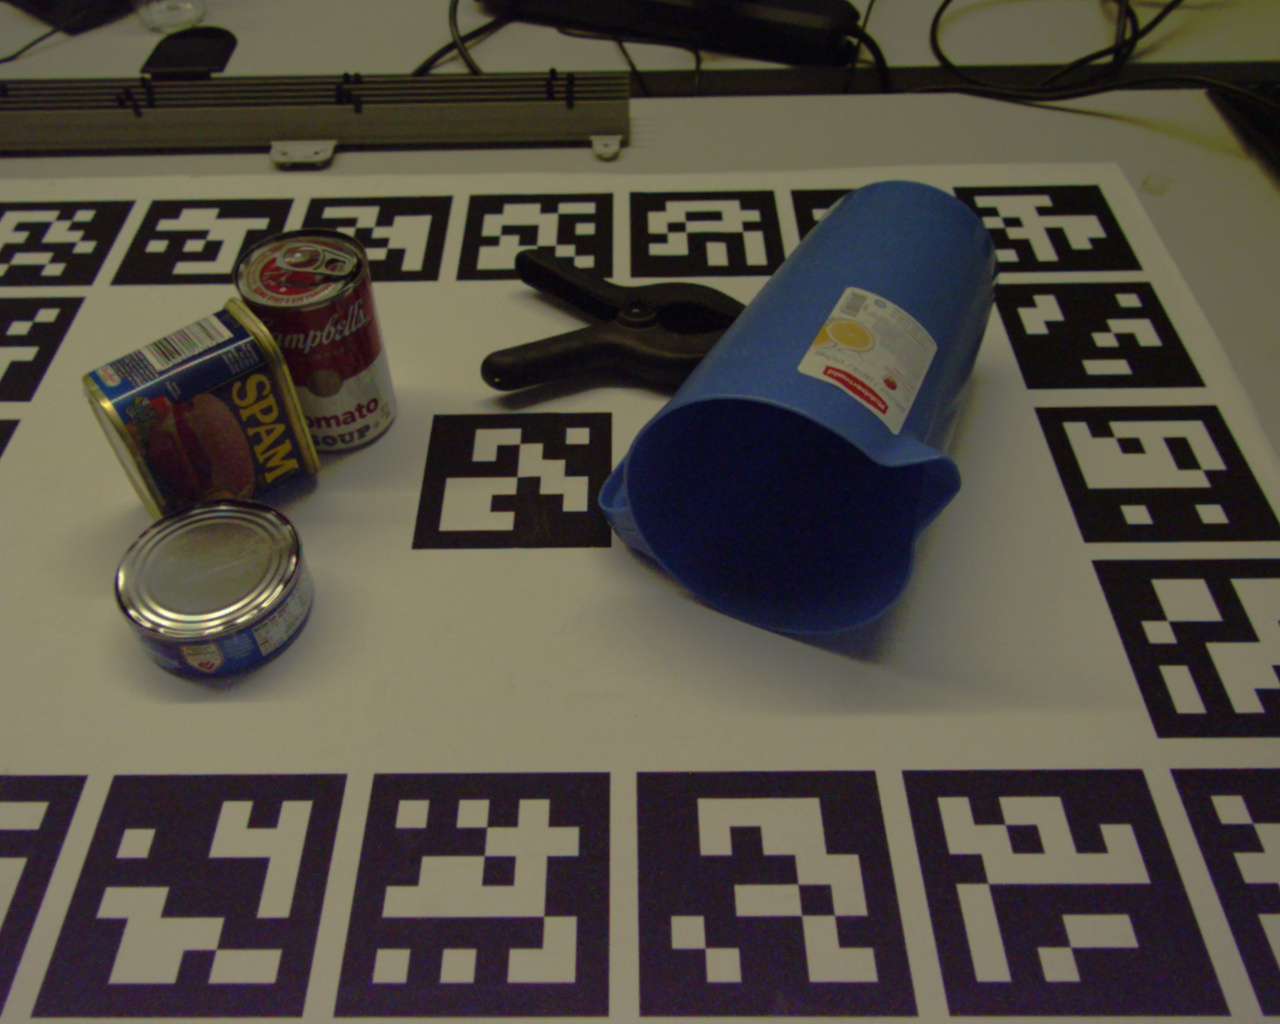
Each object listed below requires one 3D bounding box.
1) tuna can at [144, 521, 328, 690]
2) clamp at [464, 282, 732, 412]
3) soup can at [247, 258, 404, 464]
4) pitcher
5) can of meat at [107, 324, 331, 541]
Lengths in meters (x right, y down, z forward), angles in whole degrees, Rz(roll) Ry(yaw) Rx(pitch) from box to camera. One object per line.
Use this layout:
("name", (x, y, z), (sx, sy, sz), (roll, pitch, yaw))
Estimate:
("tuna can", (-0.205, 0.048, 0.584), (0.086, 0.033, 0.086), (-1, 50, 0))
("clamp", (-0.023, -0.103, 0.728), (0.165, 0.036, 0.122), (3, 44, -1))
("soup can", (-0.179, -0.086, 0.660), (0.068, 0.101, 0.068), (-2, 50, 2))
("pitcher", (0.091, -0.063, 0.606), (0.191, 0.132, 0.241), (-1, 36, 30))
("can of meat", (-0.225, -0.037, 0.611), (0.083, 0.101, 0.058), (-31, 56, -20))
